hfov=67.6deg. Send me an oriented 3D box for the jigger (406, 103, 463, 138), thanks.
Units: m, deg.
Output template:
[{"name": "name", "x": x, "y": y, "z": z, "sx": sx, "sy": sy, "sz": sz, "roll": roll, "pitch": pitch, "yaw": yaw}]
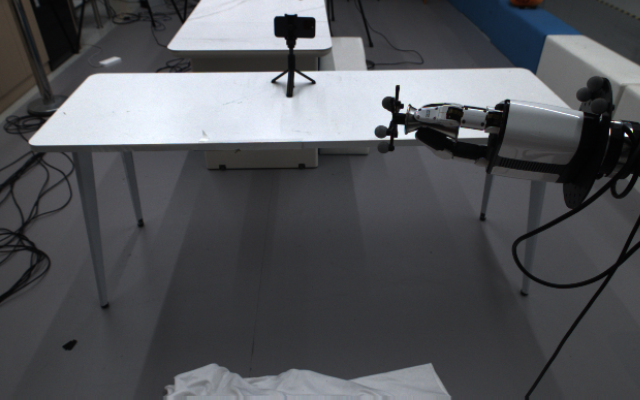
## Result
[{"name": "jigger", "x": 0.154, "y": -0.108, "z": 0.634, "sx": 0.071, "sy": 0.043, "sz": 0.043, "roll": 7, "pitch": 35, "yaw": 16}]
